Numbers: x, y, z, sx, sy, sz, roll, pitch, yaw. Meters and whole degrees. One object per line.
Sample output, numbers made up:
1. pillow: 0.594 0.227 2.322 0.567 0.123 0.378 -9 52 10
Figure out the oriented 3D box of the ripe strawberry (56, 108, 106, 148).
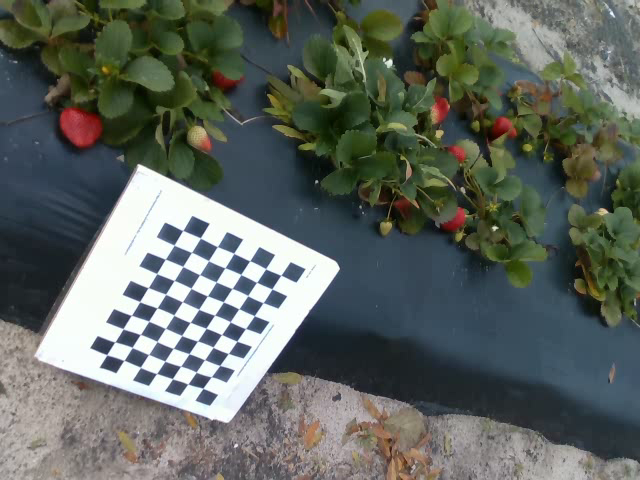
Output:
1. ripe strawberry: -0.218 -0.103 0.521 0.037 0.046 0.037 -13 -24 0
